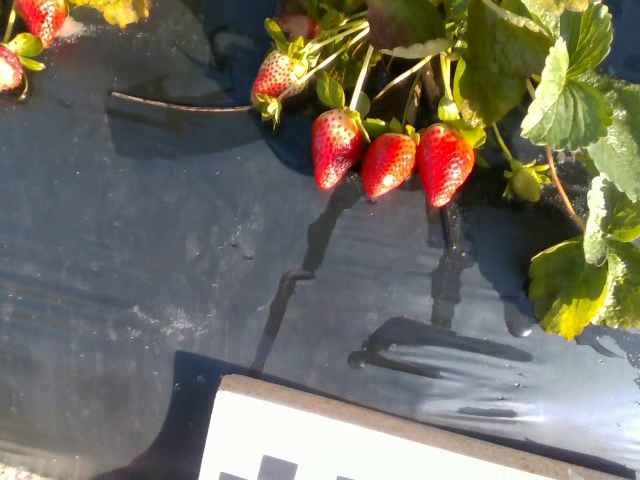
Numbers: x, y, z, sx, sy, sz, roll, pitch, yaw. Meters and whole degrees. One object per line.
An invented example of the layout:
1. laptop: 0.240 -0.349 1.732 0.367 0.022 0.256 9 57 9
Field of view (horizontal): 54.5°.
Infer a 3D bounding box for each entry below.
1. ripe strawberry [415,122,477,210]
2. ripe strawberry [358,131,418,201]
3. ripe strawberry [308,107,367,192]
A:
1. ripe strawberry: 0.062 -0.032 0.315 0.035 0.041 0.034 11 -28 5
2. ripe strawberry: 0.034 -0.038 0.313 0.030 0.039 0.037 24 -41 -1
3. ripe strawberry: 0.007 -0.047 0.321 0.031 0.046 0.023 15 8 3
